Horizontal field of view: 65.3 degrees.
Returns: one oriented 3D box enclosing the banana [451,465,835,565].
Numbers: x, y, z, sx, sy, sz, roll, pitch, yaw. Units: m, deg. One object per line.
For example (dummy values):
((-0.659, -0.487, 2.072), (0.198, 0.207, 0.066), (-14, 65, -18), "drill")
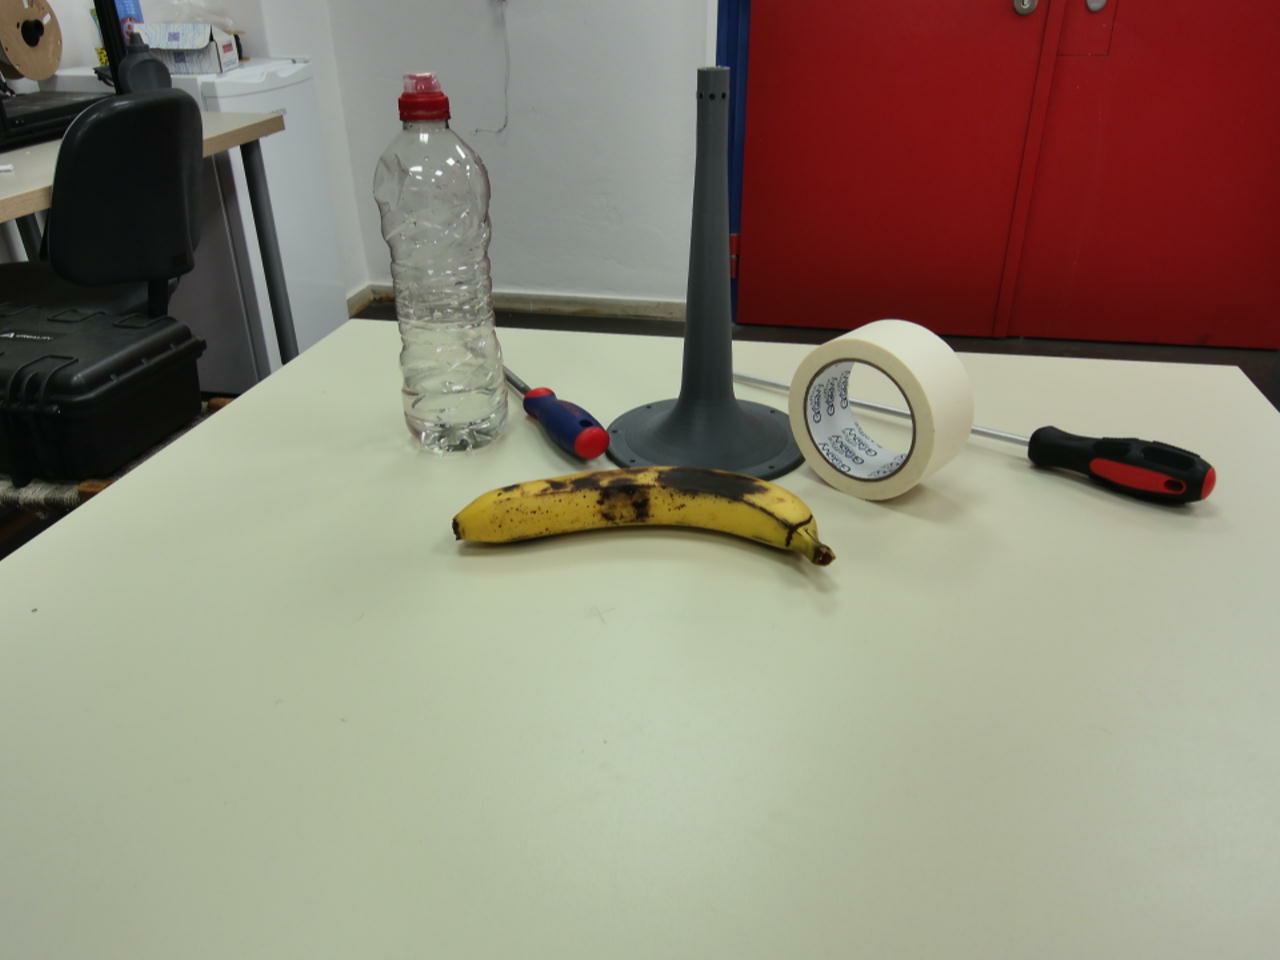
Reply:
((0.005, 0.018, 0.597), (0.222, 0.037, 0.084), (5, 26, 11), "banana")
